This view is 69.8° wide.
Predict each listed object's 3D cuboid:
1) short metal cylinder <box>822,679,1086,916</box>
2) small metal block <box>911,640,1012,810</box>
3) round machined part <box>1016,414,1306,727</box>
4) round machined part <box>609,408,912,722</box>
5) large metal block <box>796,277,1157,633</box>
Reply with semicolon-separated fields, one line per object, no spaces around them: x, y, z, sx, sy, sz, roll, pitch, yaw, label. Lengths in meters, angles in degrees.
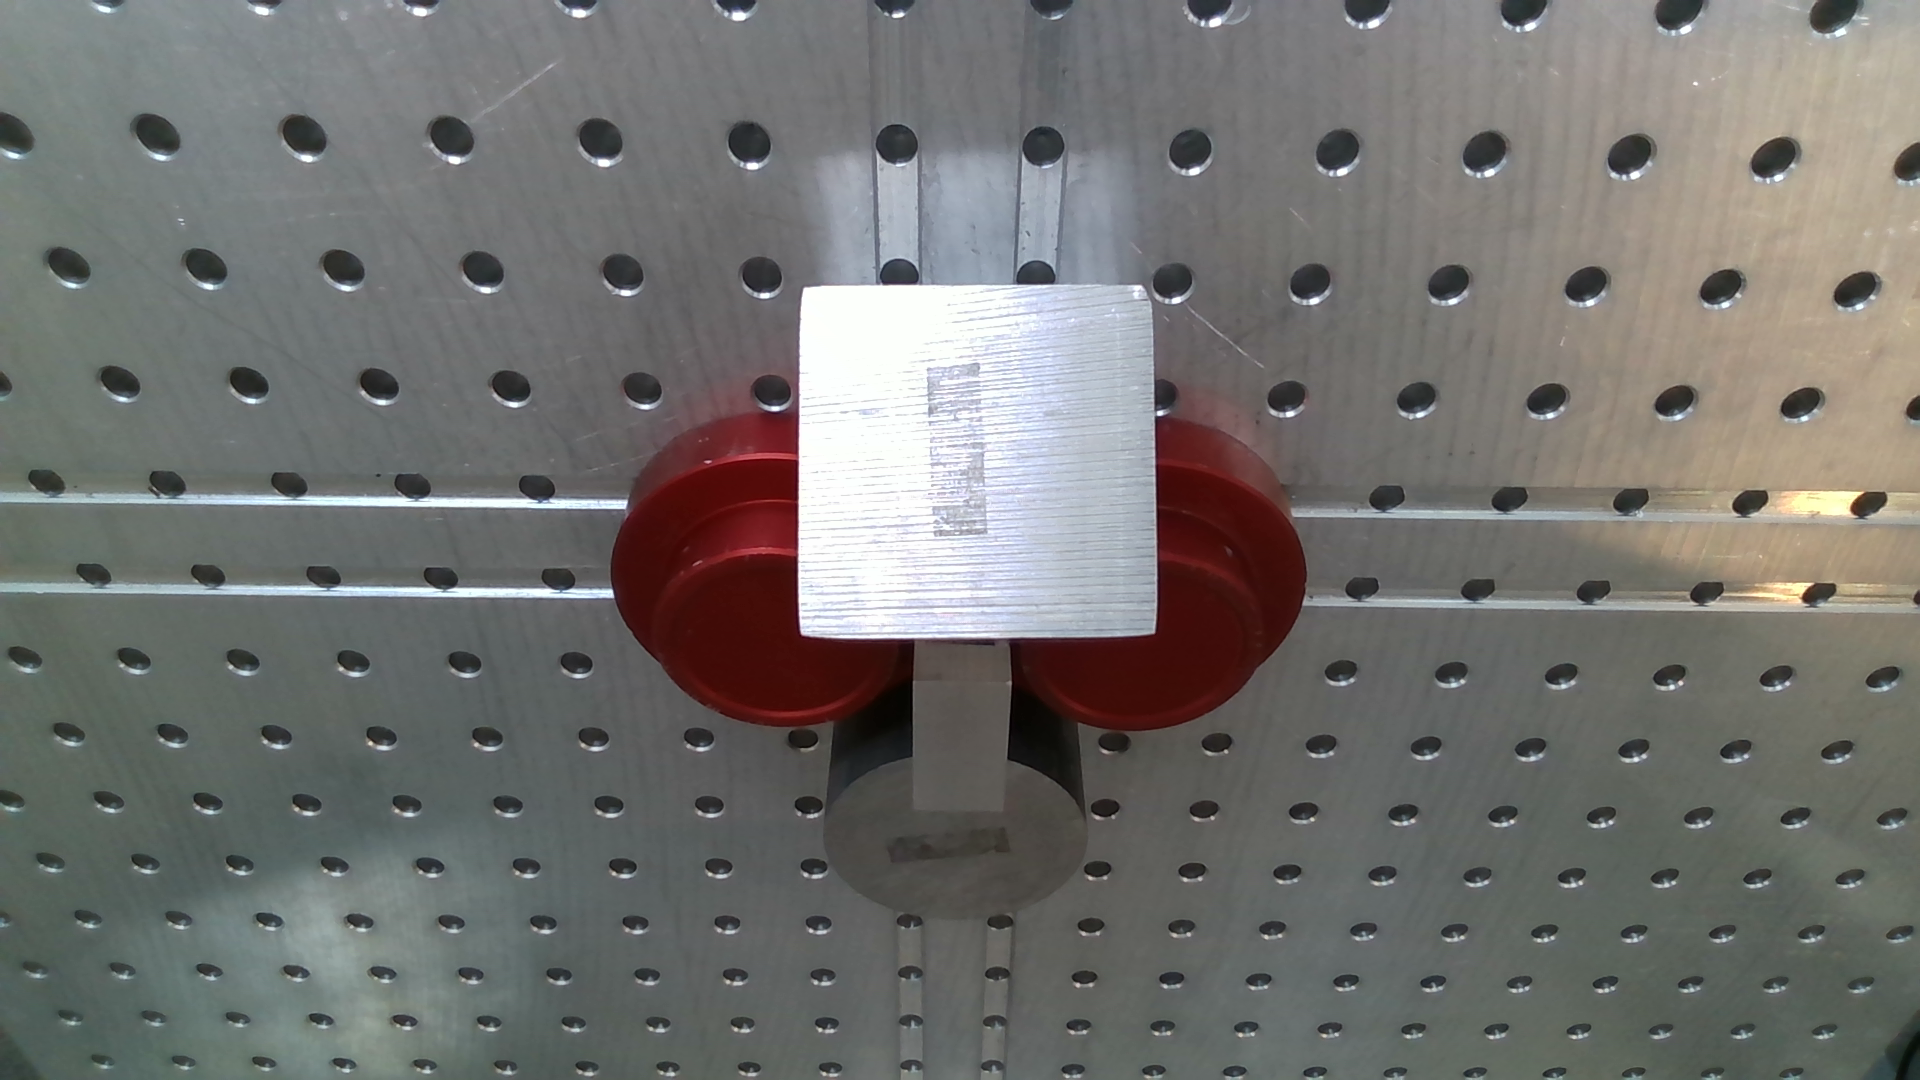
-0.002;0.075;0.438;0.080;0.050;0.080;0;130;0;short metal cylinder
0.000;0.038;0.379;0.025;0.050;0.050;1;130;-1;small metal block
0.050;0.016;0.394;0.098;0.042;0.098;0;130;0;round machined part
-0.051;0.014;0.393;0.098;0.042;0.098;0;130;0;round machined part
0.004;-0.017;0.334;0.080;0.080;0.050;0;175;0;large metal block
